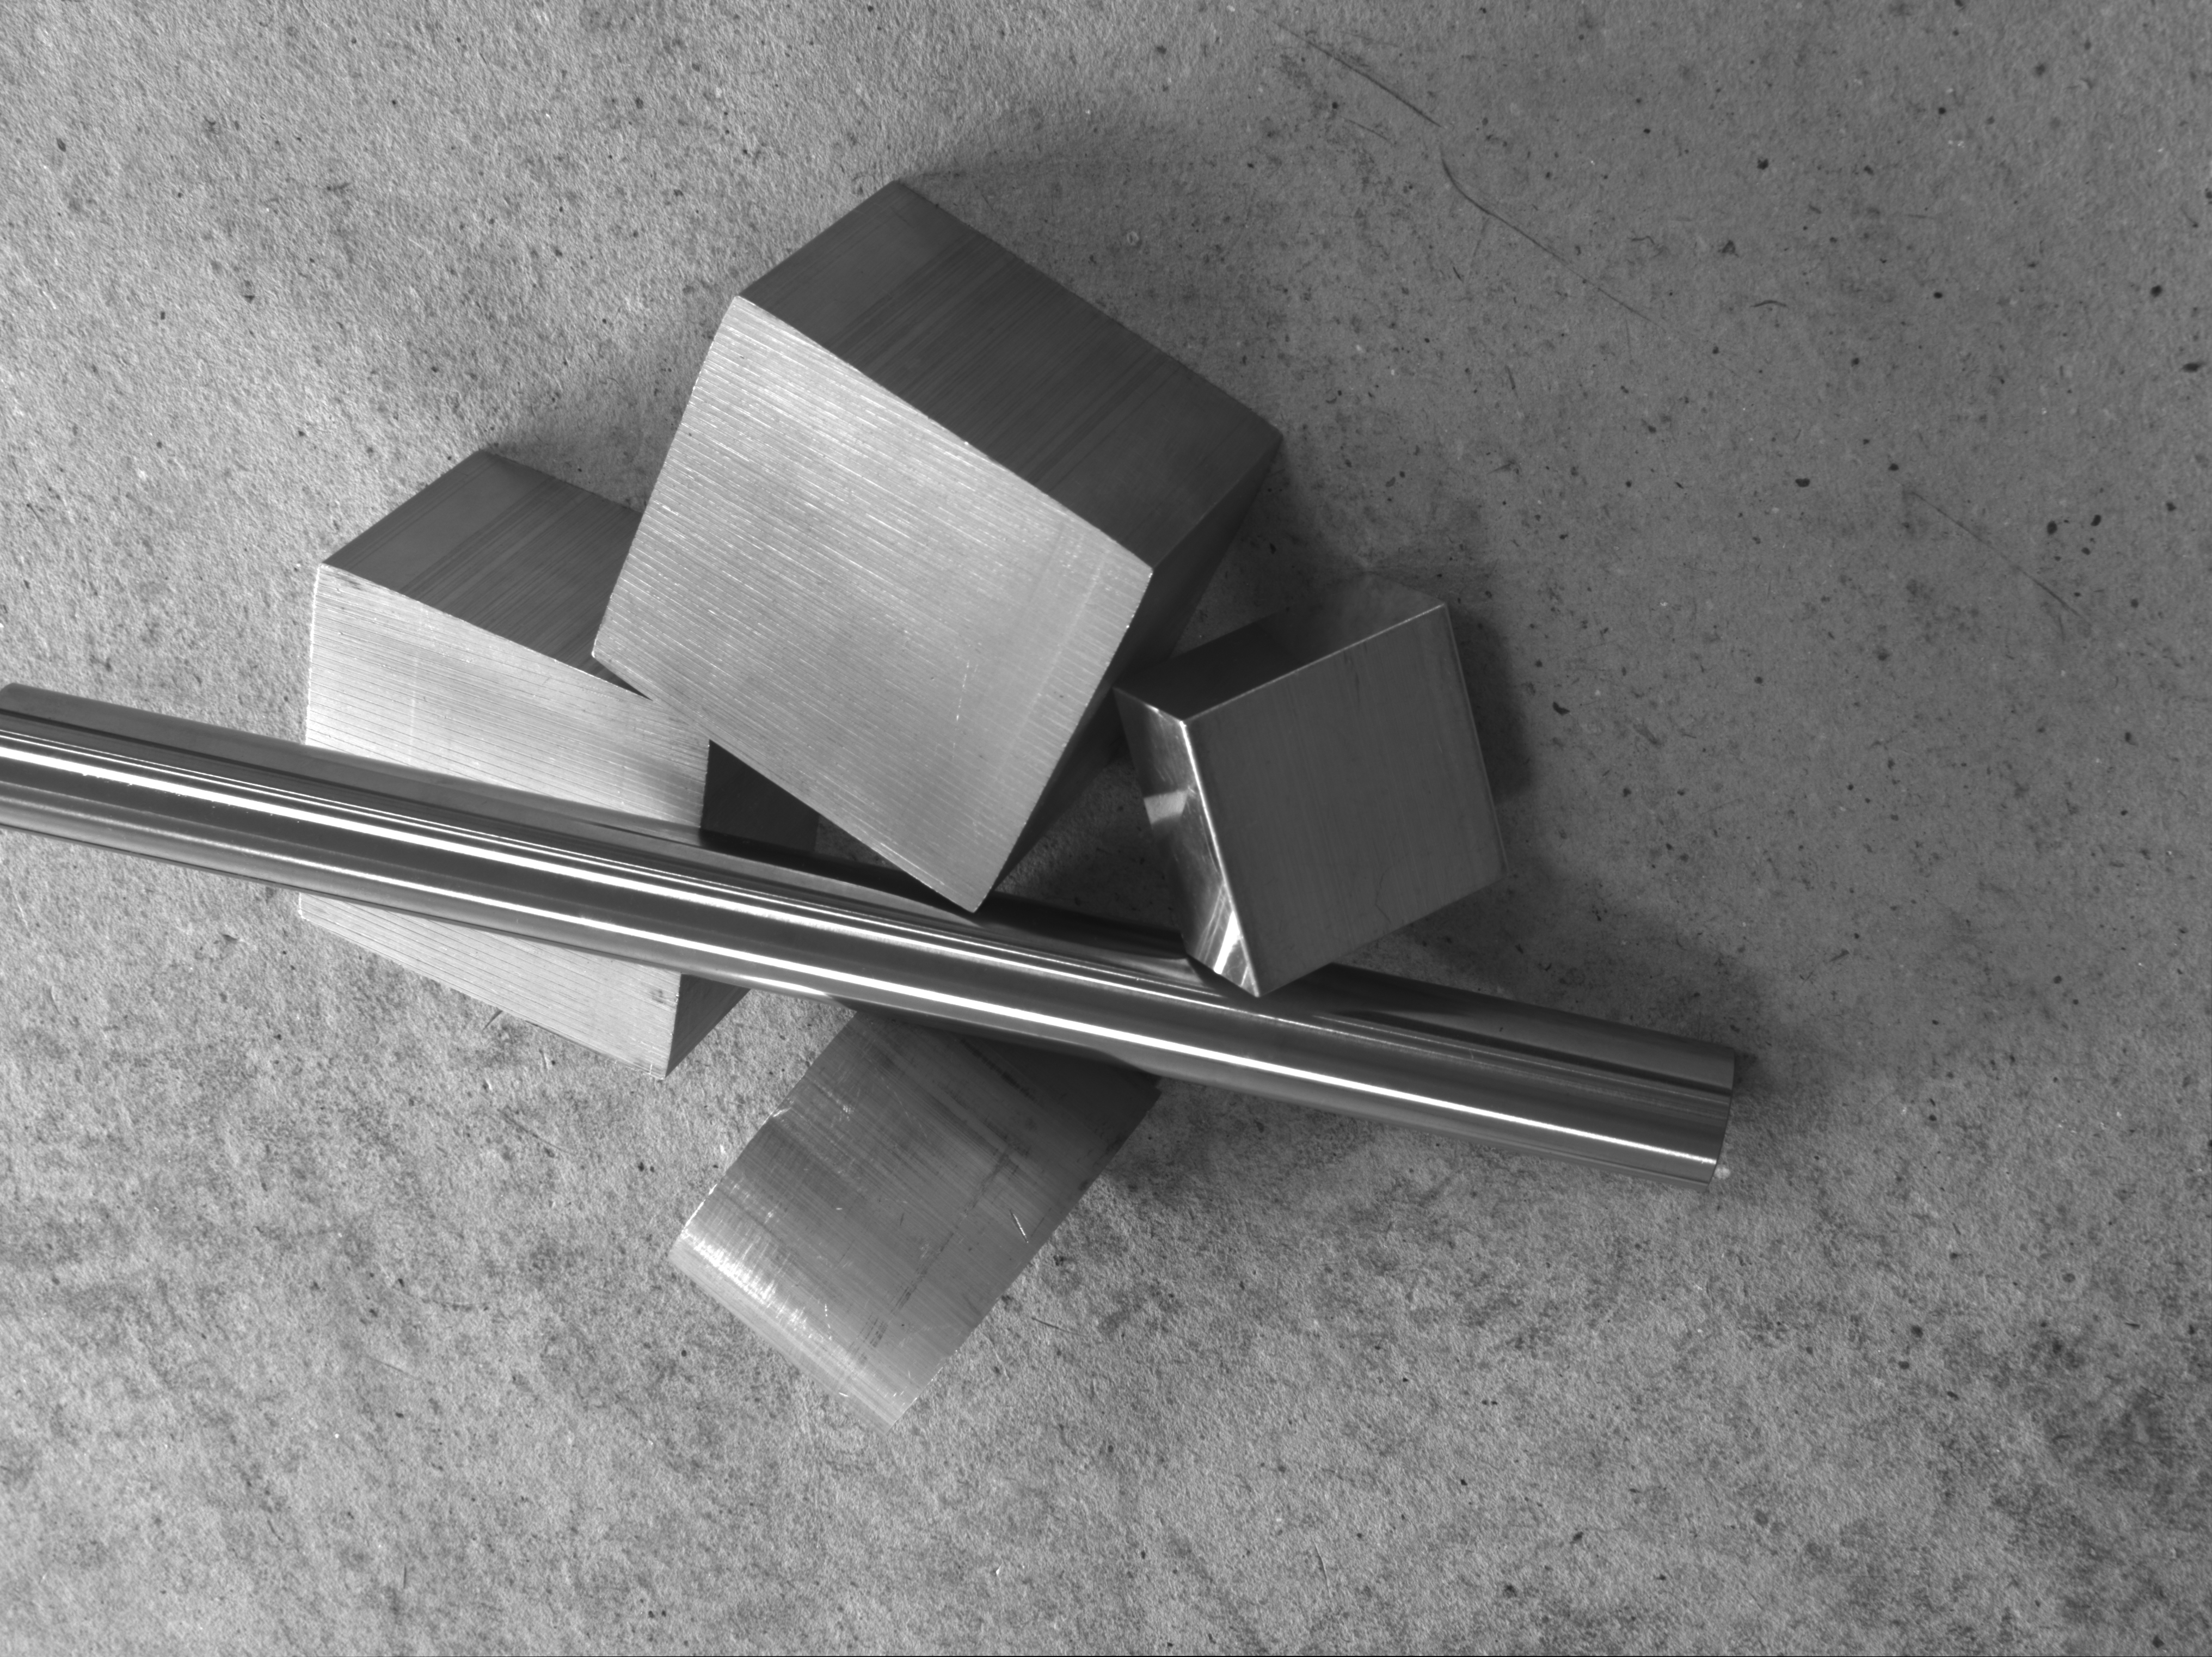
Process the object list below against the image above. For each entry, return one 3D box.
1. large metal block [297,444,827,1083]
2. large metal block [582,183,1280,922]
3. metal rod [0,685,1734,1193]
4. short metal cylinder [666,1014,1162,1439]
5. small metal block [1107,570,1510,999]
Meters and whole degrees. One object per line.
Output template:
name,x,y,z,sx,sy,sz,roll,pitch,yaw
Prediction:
large metal block,-0.098,-0.012,0.672,0.080,0.050,0.080,22,127,15
large metal block,-0.030,-0.046,0.612,0.080,0.050,0.080,34,129,6
metal rod,-0.044,0.018,0.625,0.300,0.025,0.025,12,125,2
short metal cylinder,-0.035,0.063,0.664,0.050,0.080,0.080,39,129,2
small metal block,0.034,-0.008,0.601,0.025,0.050,0.050,29,140,58
